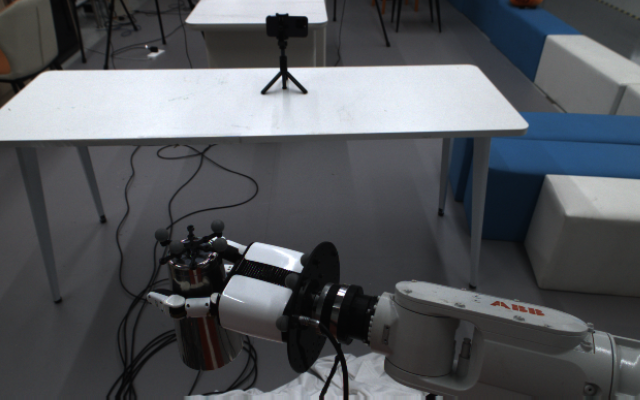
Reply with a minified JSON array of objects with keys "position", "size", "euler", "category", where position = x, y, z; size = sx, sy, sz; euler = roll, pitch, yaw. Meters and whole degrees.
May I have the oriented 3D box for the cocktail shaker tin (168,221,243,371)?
[{"position":[-0.154,0.136,0.653],"size":[0.093,0.170,0.093],"euler":[-1,32,1],"category":"cocktail shaker tin"}]
